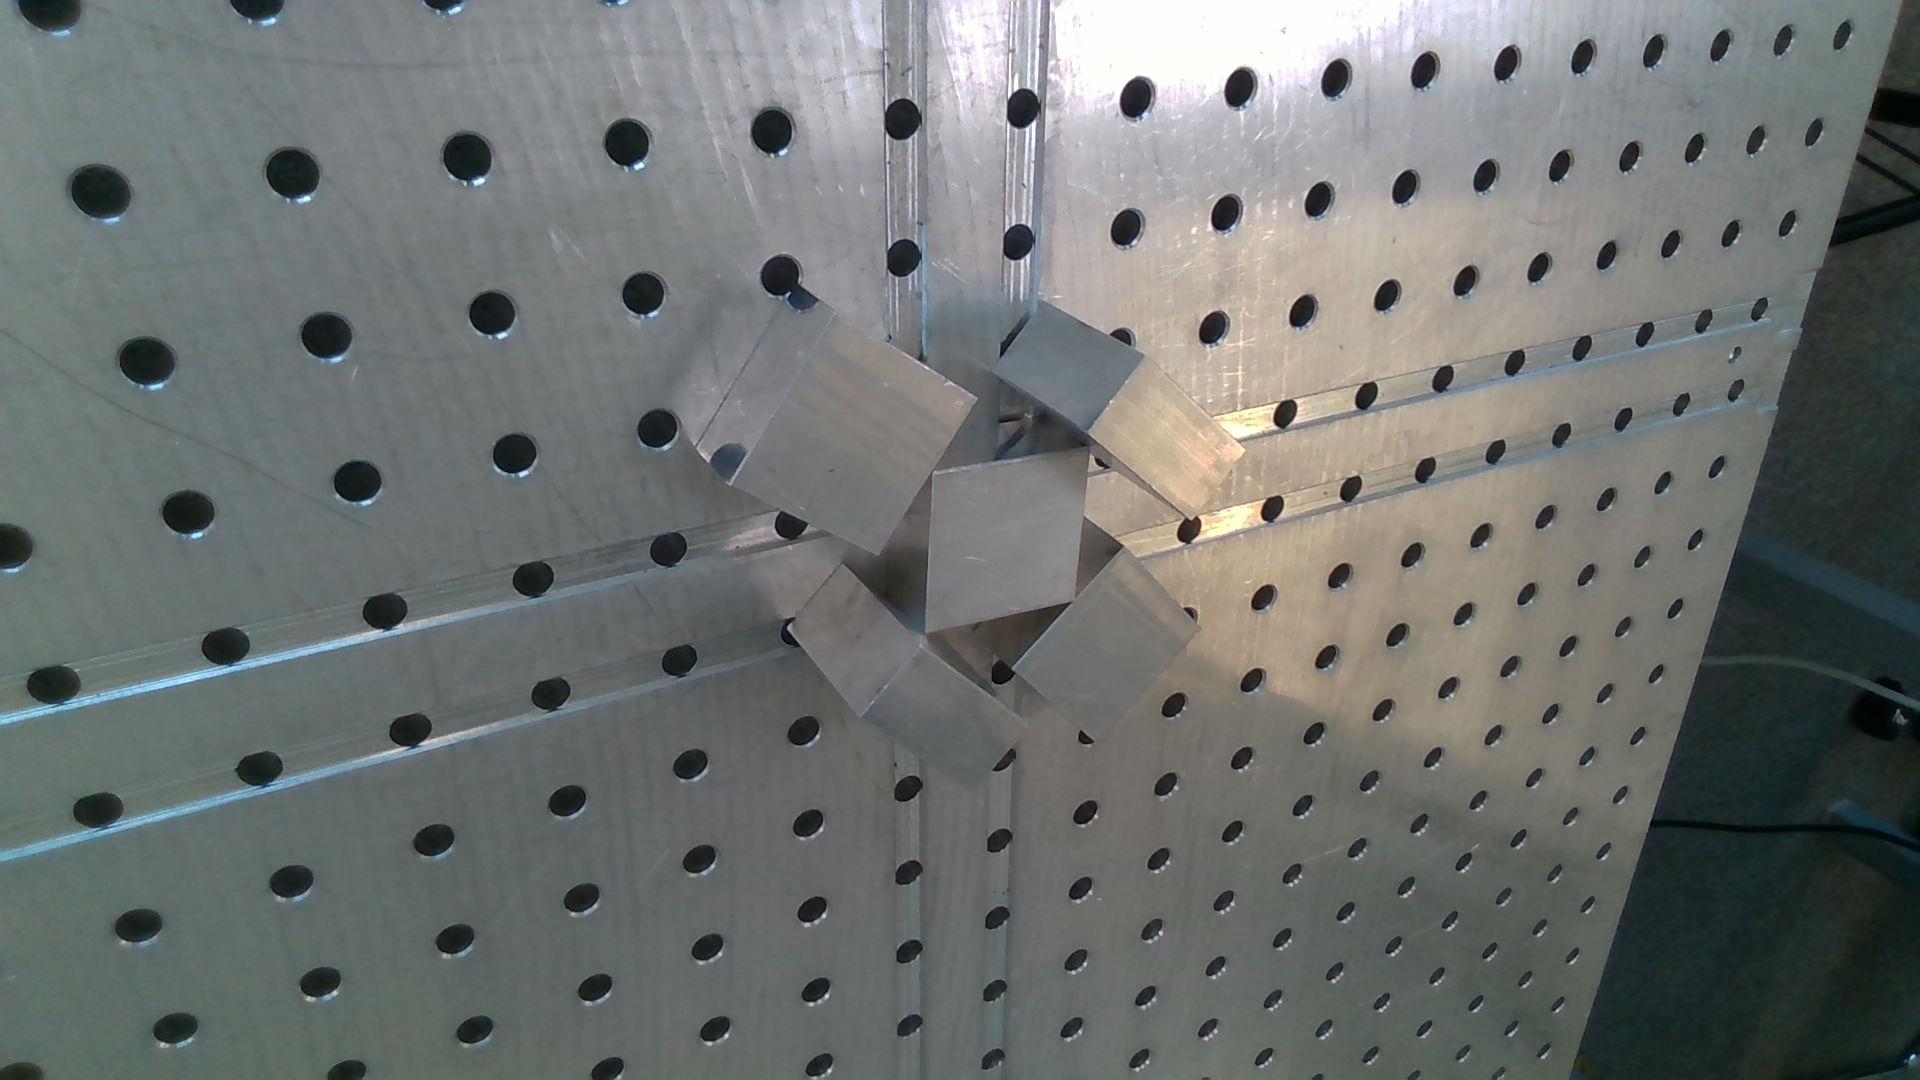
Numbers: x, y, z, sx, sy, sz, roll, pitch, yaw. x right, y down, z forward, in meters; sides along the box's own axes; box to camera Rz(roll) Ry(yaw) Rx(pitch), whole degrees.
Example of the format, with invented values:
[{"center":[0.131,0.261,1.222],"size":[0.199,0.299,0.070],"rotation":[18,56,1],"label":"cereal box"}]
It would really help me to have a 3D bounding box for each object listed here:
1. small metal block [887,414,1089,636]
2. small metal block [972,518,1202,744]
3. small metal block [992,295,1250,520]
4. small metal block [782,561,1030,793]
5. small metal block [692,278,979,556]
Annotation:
[{"center":[0.007,-0.005,0.393],"size":[0.050,0.025,0.050],"rotation":[-12,119,-28],"label":"small metal block"},{"center":[0.040,0.028,0.432],"size":[0.050,0.025,0.050],"rotation":[-48,129,-1],"label":"small metal block"},{"center":[0.044,-0.037,0.383],"size":[0.050,0.050,0.025],"rotation":[35,94,-39],"label":"small metal block"},{"center":[-0.015,0.038,0.387],"size":[0.025,0.050,0.050],"rotation":[-50,129,0],"label":"small metal block"},{"center":[-0.032,-0.031,0.355],"size":[0.050,0.025,0.050],"rotation":[27,99,-39],"label":"small metal block"}]
